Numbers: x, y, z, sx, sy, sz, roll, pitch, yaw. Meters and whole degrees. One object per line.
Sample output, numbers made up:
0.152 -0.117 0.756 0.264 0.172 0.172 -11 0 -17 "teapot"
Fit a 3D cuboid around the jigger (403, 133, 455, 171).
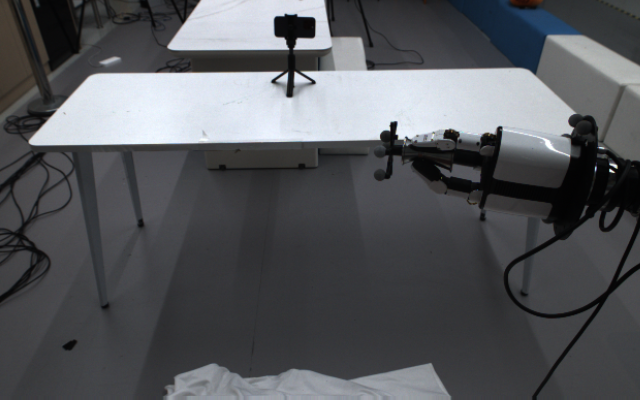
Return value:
0.155 -0.069 0.663 0.071 0.043 0.043 8 35 14 "jigger"
